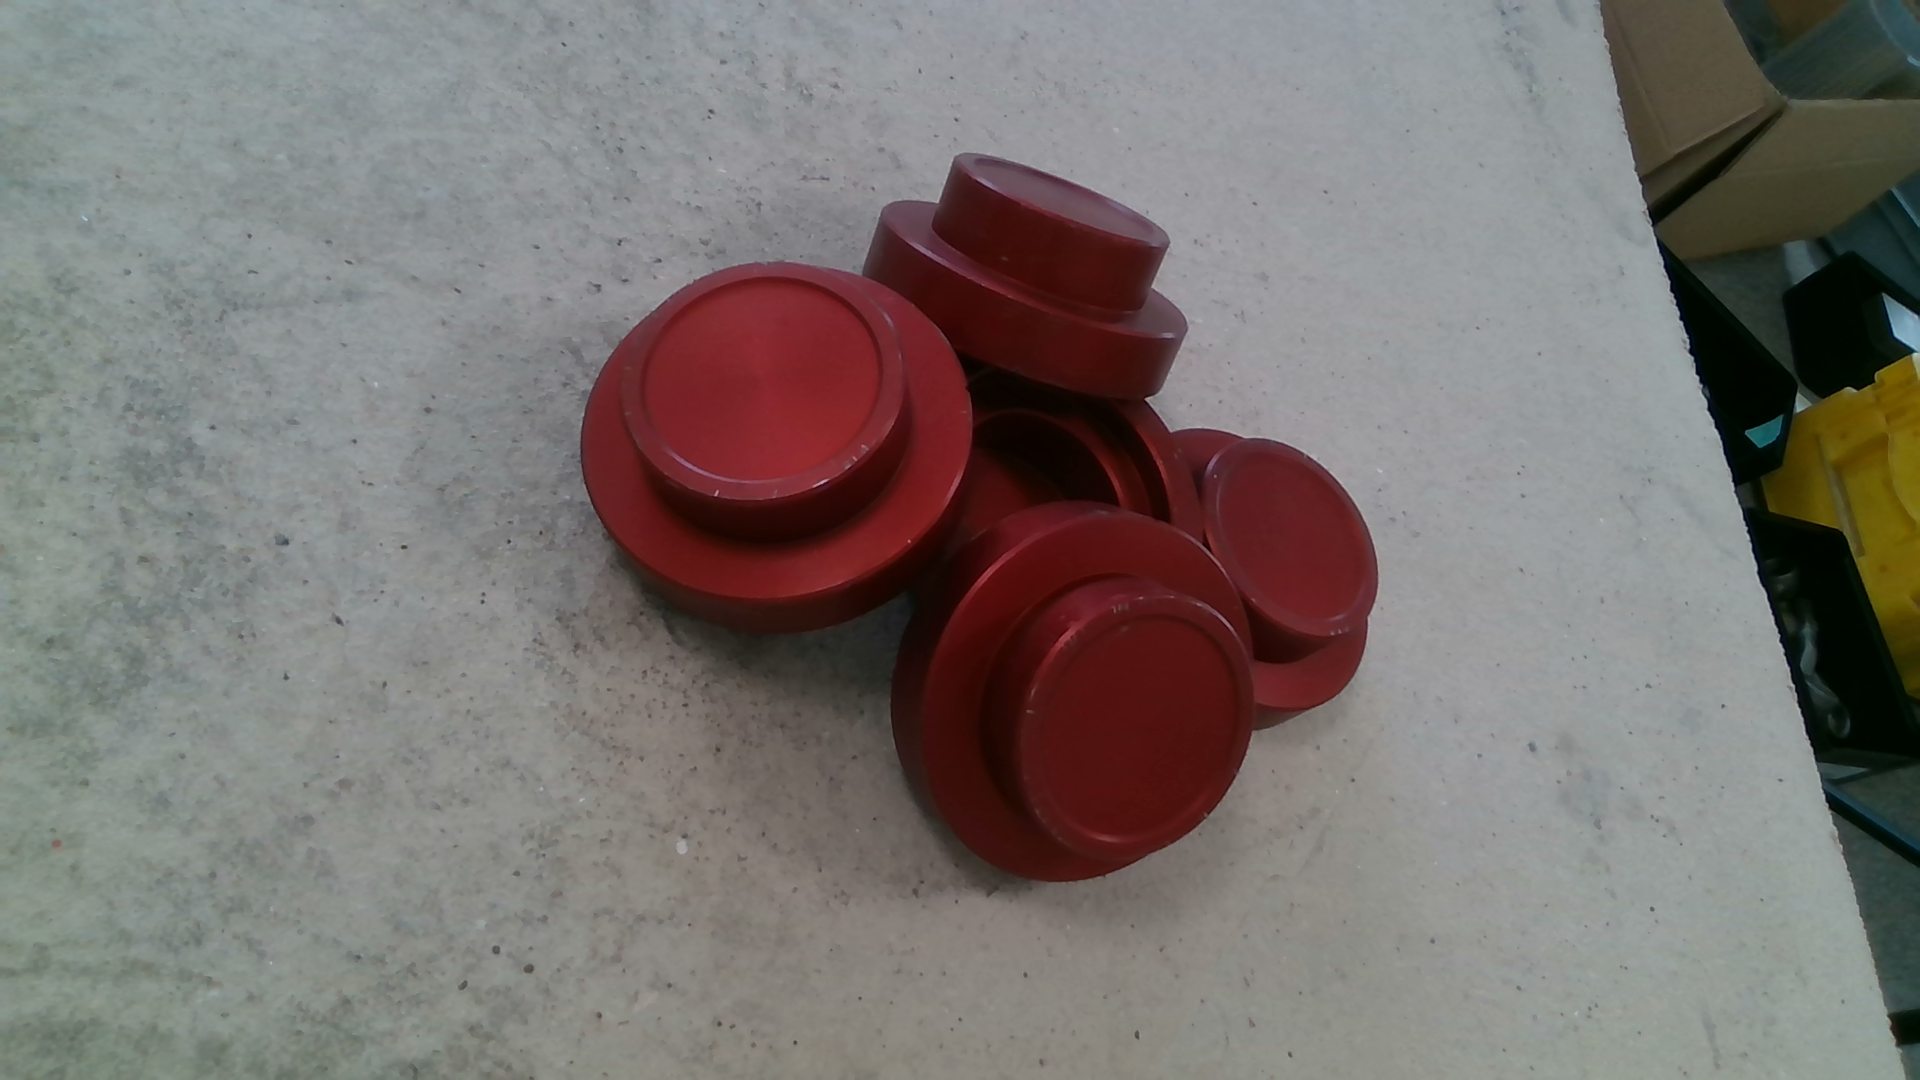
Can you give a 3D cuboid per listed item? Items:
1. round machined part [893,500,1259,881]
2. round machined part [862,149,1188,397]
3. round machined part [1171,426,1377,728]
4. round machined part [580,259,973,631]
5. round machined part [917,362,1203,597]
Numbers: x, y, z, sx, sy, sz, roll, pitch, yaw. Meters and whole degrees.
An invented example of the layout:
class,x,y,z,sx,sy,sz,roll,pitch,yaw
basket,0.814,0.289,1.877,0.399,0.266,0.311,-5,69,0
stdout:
class,x,y,z,sx,sy,sz,roll,pitch,yaw
round machined part,0.036,0.041,0.350,0.098,0.042,0.098,-6,104,-25
round machined part,0.024,-0.084,0.411,0.098,0.042,0.098,18,25,-9
round machined part,0.092,0.007,0.435,0.098,0.042,0.098,16,58,-26
round machined part,-0.046,-0.030,0.343,0.098,0.042,0.098,-1,64,1
round machined part,0.019,-0.008,0.398,0.098,0.042,0.098,16,56,-25
